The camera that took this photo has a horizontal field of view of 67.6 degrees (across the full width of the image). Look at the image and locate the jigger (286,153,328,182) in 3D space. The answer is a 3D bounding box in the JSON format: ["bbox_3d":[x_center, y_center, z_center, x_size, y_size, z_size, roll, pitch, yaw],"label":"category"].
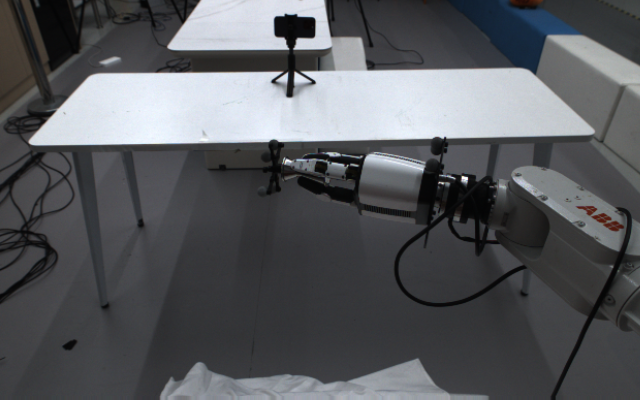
[{"bbox_3d":[-0.015,-0.047,0.729,0.071,0.043,0.043,6,35,14],"label":"jigger"}]
